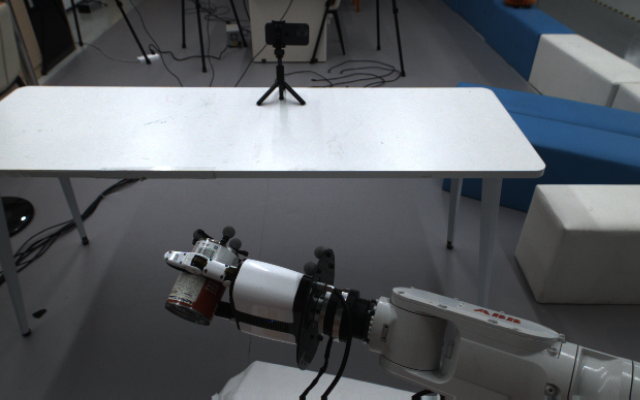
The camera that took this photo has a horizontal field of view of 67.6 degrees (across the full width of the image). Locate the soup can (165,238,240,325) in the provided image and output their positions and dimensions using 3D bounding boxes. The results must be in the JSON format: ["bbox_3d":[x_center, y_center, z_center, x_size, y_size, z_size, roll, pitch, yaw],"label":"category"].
[{"bbox_3d":[-0.162,0.113,0.670,0.067,0.067,0.101,12,59,14],"label":"soup can"}]
